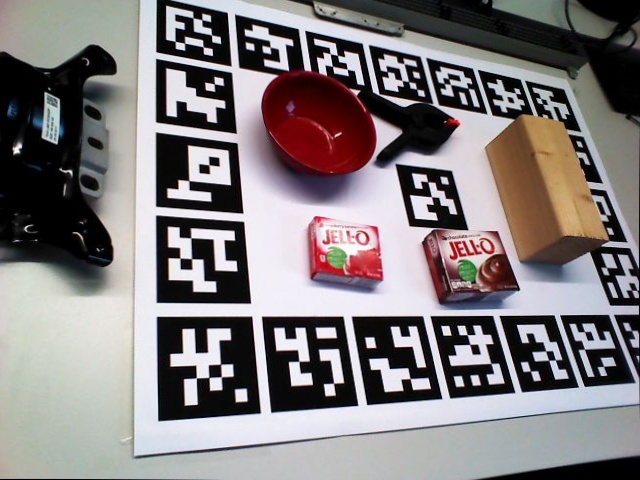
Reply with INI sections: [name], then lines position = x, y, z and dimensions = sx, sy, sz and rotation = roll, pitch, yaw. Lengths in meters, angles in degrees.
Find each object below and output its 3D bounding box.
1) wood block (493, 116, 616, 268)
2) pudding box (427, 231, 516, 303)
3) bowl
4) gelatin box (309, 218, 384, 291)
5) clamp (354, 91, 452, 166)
[wood block]
position = 0.345, -0.072, 0.775
dimensions = 0.089, 0.091, 0.205
rotation = 6, 64, -24
[pudding box]
position = 0.204, 0.037, 0.688
dimensions = 0.113, 0.039, 0.089
rotation = 1, 69, -22
[bowl]
position = -0.011, -0.141, 0.674
dimensions = 0.161, 0.055, 0.161
rotation = 10, 65, -22
[gelatin box]
position = 0.031, 0.017, 0.621
dimensions = 0.089, 0.030, 0.073
rotation = 11, 63, -20
[clamp]
position = 0.127, -0.166, 0.764
dimensions = 0.164, 0.037, 0.121
rotation = -7, 69, -30
